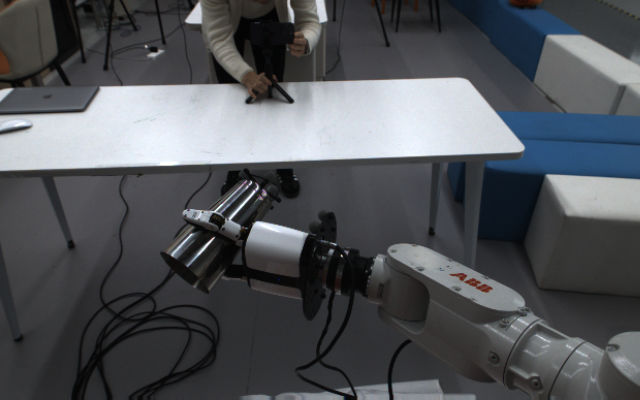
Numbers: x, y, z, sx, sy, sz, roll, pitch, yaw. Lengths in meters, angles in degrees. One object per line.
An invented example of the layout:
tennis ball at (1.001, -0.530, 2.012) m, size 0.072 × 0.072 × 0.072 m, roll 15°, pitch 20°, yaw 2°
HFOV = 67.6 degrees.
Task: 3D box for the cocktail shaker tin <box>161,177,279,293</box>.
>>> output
cocktail shaker tin at (-0.152, 0.043, 0.743) m, size 0.093 × 0.093 × 0.170 m, roll 23°, pitch 58°, yaw 27°
